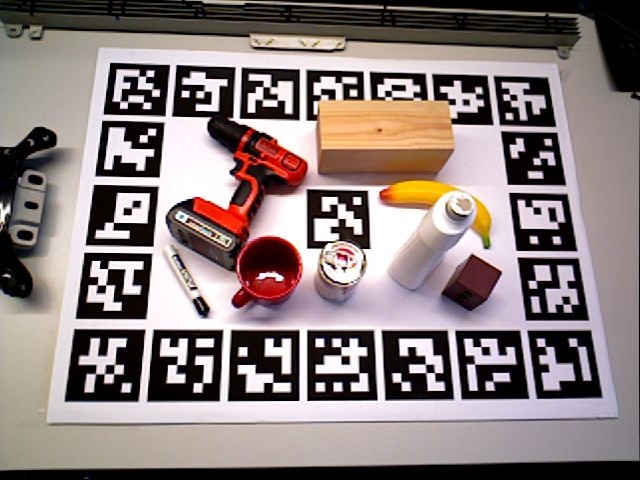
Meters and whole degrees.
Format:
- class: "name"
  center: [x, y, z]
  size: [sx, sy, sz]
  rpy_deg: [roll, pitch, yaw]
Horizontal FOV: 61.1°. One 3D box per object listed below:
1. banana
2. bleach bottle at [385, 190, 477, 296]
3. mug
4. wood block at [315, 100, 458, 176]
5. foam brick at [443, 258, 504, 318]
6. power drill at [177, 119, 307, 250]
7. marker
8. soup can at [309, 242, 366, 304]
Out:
- class: "banana"
  center: [0.177, -0.066, 0.849]
  size: [0.196, 0.039, 0.074]
  rpy_deg: [17, 85, -1]
- class: "bleach bottle"
  center: [0.152, -0.005, 0.717]
  size: [0.068, 0.254, 0.101]
  rpy_deg: [29, 69, 6]
- class: "mug"
  center: [-0.087, 0.052, 0.771]
  size: [0.093, 0.082, 0.116]
  rpy_deg: [43, 77, 8]
- class: "wood block"
  center: [0.098, -0.159, 0.851]
  size: [0.205, 0.092, 0.089]
  rpy_deg: [0, 72, -4]
- class: "foam brick"
  center: [0.222, 0.071, 0.791]
  size: [0.053, 0.079, 0.050]
  rpy_deg: [33, 69, 9]
- class: "power drill"
  center: [-0.136, -0.081, 0.831]
  size: [0.184, 0.058, 0.184]
  rpy_deg: [30, 71, 2]
- class: "marker"
  center: [-0.204, 0.063, 0.796]
  size: [0.019, 0.020, 0.121]
  rpy_deg: [-28, 77, -11]
- class: "soup can"
  center: [0.022, 0.045, 0.765]
  size: [0.067, 0.104, 0.067]
  rpy_deg: [2, 66, -6]
